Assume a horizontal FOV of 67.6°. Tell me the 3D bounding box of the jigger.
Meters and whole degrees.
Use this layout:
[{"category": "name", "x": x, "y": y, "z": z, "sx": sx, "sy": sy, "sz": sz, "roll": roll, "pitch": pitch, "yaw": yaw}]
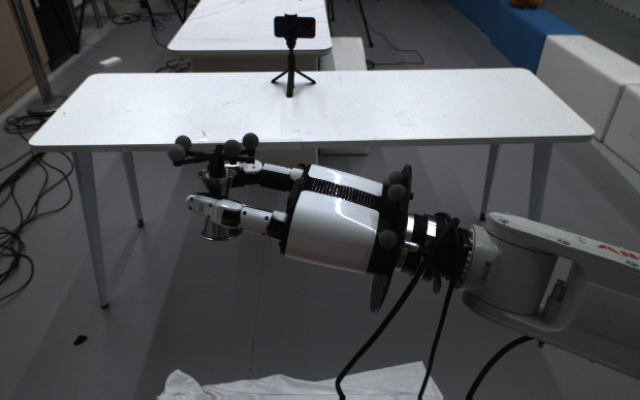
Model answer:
[{"category": "jigger", "x": -0.108, "y": 0.003, "z": 0.514, "sx": 0.043, "sy": 0.071, "sz": 0.043, "roll": 0, "pitch": 21, "yaw": 0}]
